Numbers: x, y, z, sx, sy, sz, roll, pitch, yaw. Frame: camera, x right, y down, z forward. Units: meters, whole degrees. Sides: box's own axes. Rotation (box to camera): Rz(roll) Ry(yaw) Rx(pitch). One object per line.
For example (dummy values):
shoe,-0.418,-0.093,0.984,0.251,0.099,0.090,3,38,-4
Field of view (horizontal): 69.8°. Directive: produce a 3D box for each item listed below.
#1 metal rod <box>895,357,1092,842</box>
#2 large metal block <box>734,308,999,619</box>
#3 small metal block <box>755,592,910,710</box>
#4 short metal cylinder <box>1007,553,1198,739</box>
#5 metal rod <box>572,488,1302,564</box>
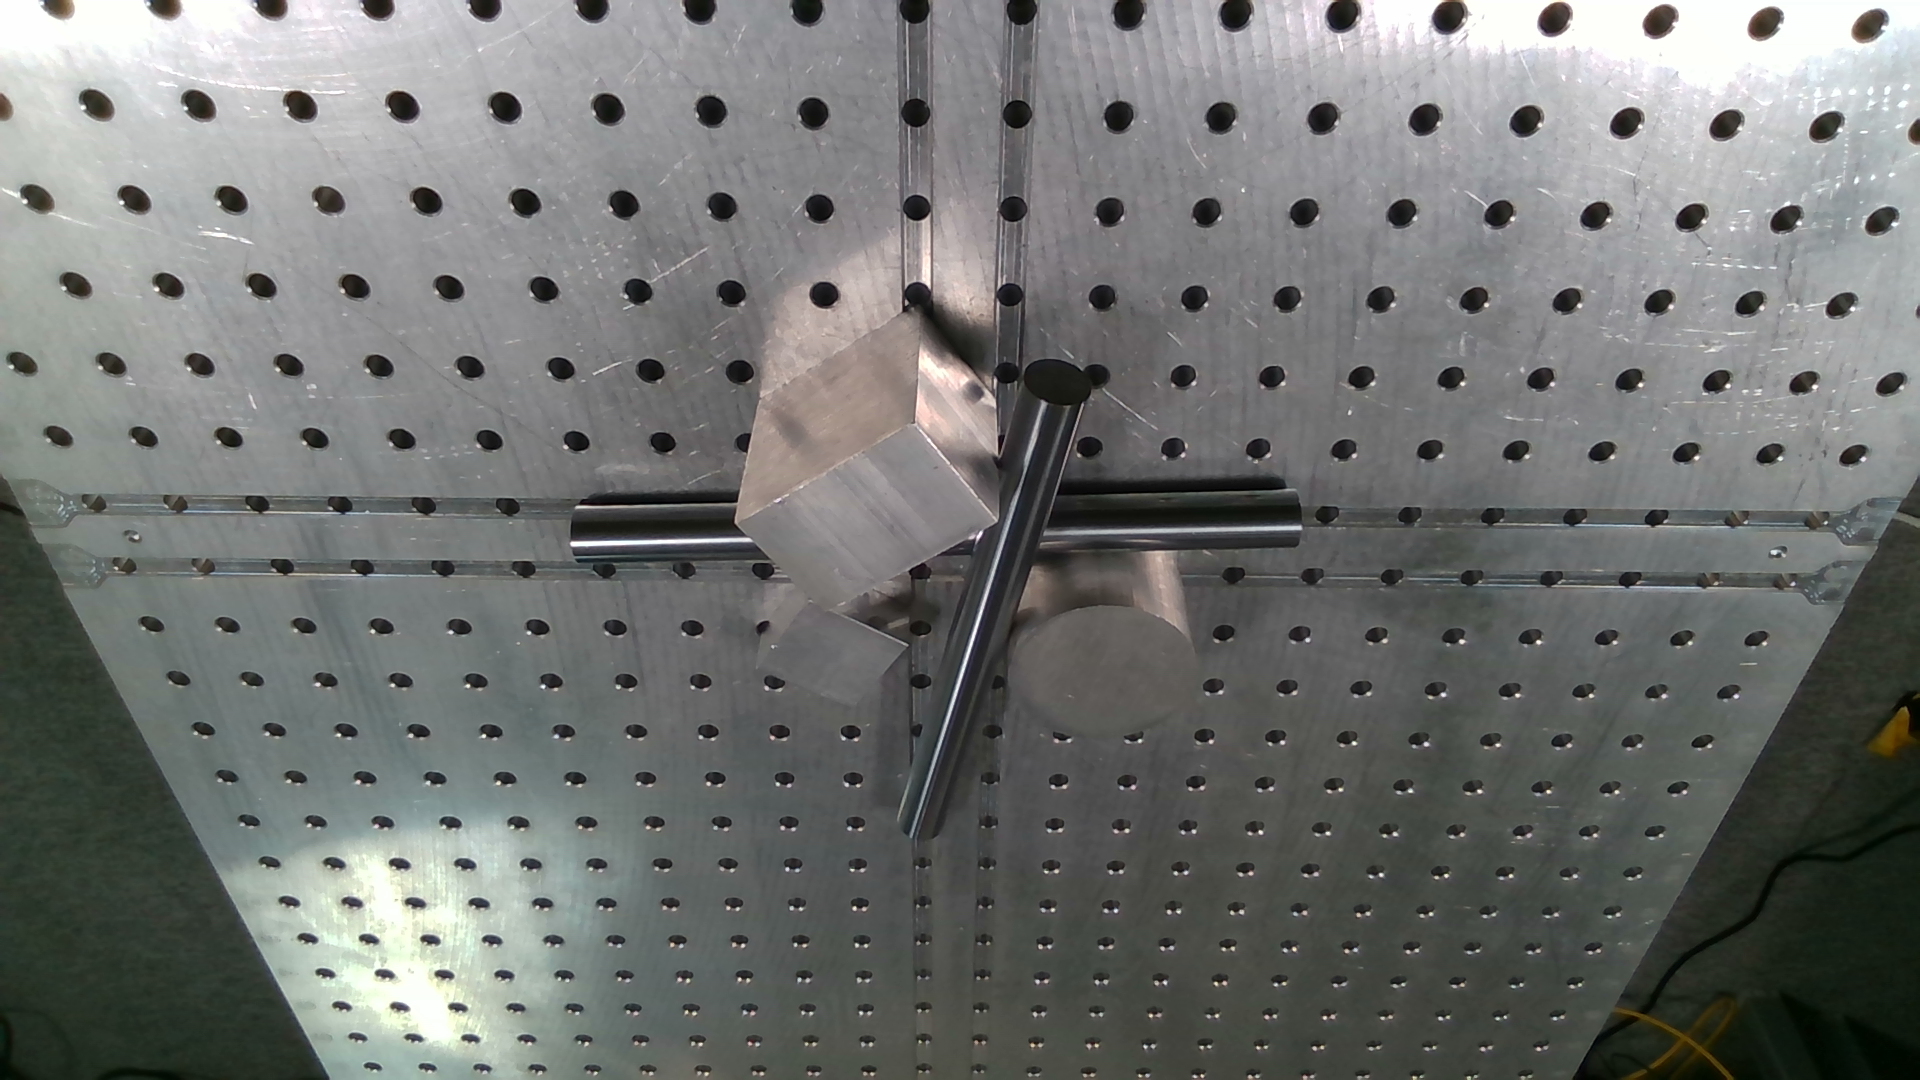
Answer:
metal rod,0.007,0.044,0.594,0.025,0.025,0.301,8,137,-7
large metal block,-0.033,-0.029,0.520,0.080,0.080,0.050,-28,125,22
small metal block,-0.057,0.043,0.620,0.050,0.025,0.050,27,125,-21
short metal cylinder,0.060,0.041,0.600,0.080,0.050,0.080,0,130,0
metal rod,-0.010,-0.006,0.577,0.300,0.025,0.025,-1,130,1
